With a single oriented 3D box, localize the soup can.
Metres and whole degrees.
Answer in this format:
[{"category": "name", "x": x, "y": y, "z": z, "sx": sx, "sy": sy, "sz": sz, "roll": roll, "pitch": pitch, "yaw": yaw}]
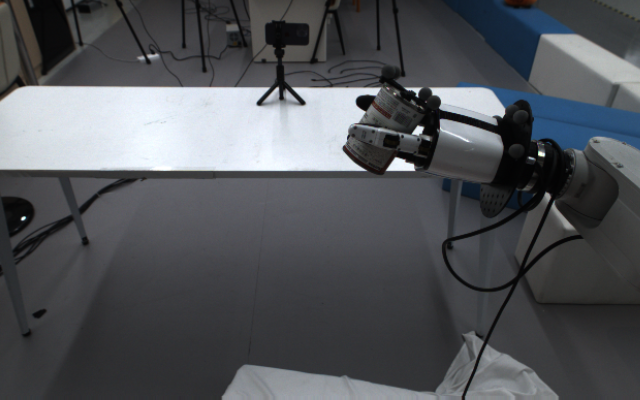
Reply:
[{"category": "soup can", "x": 0.085, "y": -0.094, "z": 0.642, "sx": 0.067, "sy": 0.101, "sz": 0.067, "roll": 28, "pitch": 22, "yaw": -12}]
